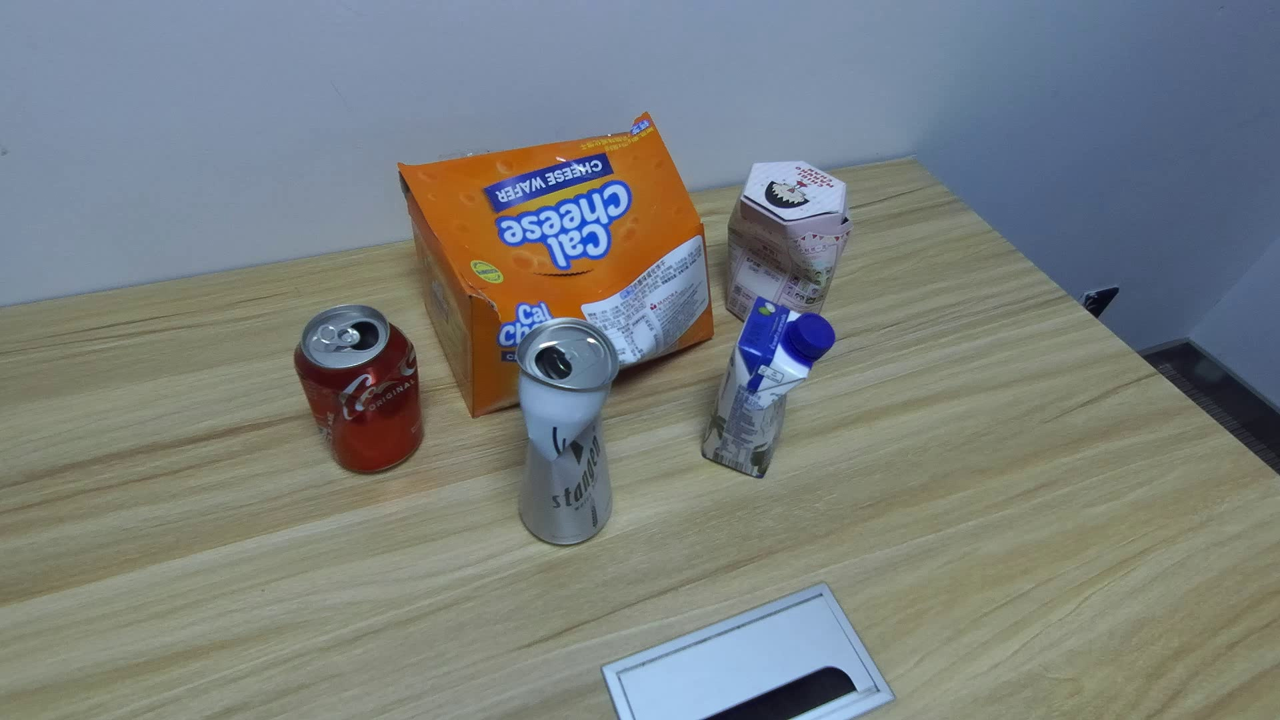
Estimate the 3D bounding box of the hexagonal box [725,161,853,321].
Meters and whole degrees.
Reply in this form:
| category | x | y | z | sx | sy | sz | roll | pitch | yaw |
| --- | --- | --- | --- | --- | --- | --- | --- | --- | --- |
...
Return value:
| category | x | y | z | sx | sy | sz | roll | pitch | yaw |
| --- | --- | --- | --- | --- | --- | --- | --- | --- | --- |
| hexagonal box | 0.122 | -0.090 | 0.605 | 0.090 | 0.134 | 0.091 | -2 | 48 | -3 |

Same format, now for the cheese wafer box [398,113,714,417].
| category | x | y | z | sx | sy | sz | roll | pitch | yaw |
| --- | --- | --- | --- | --- | --- | --- | --- | --- | --- |
| cheese wafer box | -0.052 | -0.075 | 0.569 | 0.219 | 0.145 | 0.190 | -18 | 51 | -20 |

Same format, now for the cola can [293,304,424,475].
| category | x | y | z | sx | sy | sz | roll | pitch | yaw |
| --- | --- | --- | --- | --- | --- | --- | --- | --- | --- |
| cola can | -0.193 | 0.021 | 0.488 | 0.066 | 0.117 | 0.066 | 19 | 48 | 11 |

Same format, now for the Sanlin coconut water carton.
| category | x | y | z | sx | sy | sz | roll | pitch | yaw |
| --- | --- | --- | --- | --- | --- | --- | --- | --- | --- |
| Sanlin coconut water carton | 0.086 | 0.019 | 0.496 | 0.057 | 0.142 | 0.078 | 22 | 49 | 7 |

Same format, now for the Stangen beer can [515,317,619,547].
| category | x | y | z | sx | sy | sz | roll | pitch | yaw |
| --- | --- | --- | --- | --- | --- | --- | --- | --- | --- |
| Stangen beer can | -0.046 | 0.051 | 0.443 | 0.066 | 0.162 | 0.077 | -21 | 52 | -22 |
